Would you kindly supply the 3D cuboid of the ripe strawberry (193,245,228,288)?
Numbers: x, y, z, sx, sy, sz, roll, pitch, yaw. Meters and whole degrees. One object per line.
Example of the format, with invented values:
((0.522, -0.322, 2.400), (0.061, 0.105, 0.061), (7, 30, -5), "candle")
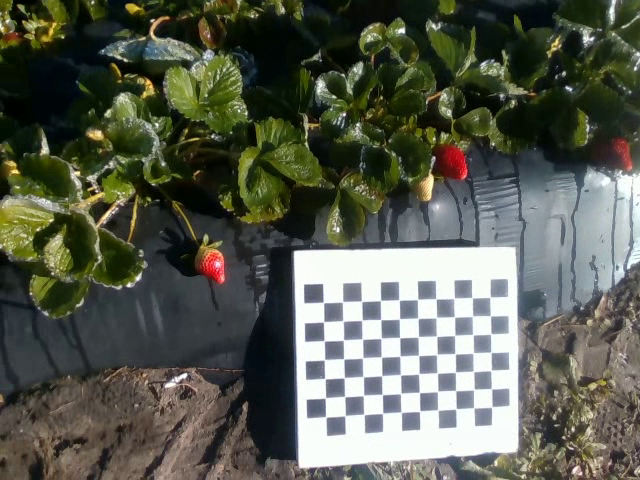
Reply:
((-0.126, 0.031, 0.615), (0.039, 0.053, 0.041), (-23, -13, -7), "ripe strawberry")
